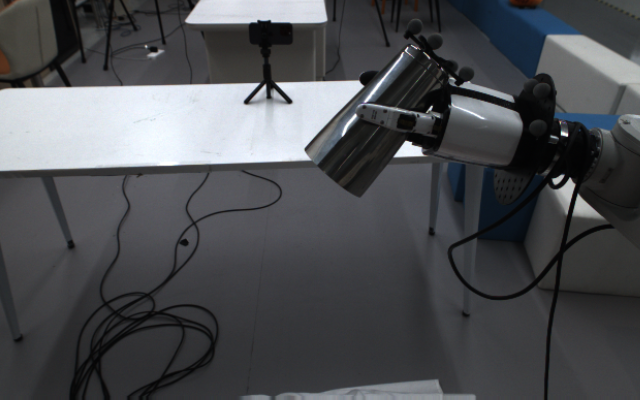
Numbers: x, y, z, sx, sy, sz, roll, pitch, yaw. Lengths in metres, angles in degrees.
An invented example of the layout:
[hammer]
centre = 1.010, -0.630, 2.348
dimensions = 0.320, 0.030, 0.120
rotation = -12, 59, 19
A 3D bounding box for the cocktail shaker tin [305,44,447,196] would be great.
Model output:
[cocktail shaker tin]
centre = 0.072, -0.101, 0.577
dimensions = 0.093, 0.170, 0.093
rotation = 41, 12, -11
